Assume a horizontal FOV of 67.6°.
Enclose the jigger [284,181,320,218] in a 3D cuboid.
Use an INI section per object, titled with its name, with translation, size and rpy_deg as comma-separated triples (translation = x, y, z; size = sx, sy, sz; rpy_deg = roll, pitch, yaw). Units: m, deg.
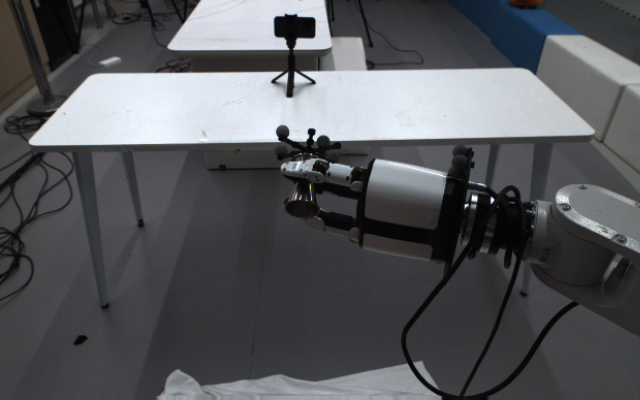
[jigger]
translation = -0.020, -0.020, 0.589
size = 0.043, 0.043, 0.071
rpy_deg = 4, 60, 2
